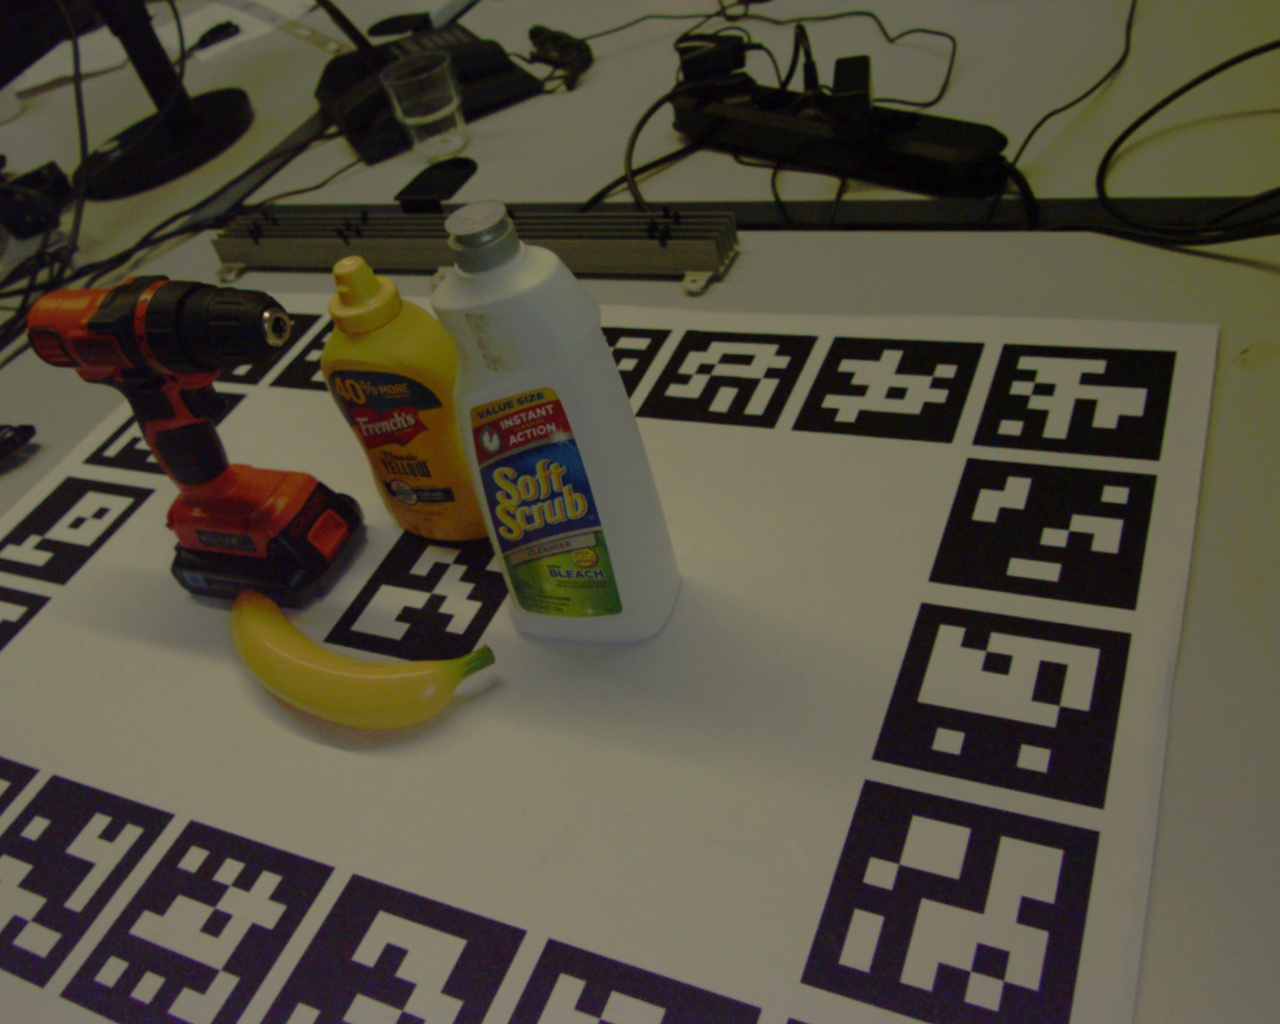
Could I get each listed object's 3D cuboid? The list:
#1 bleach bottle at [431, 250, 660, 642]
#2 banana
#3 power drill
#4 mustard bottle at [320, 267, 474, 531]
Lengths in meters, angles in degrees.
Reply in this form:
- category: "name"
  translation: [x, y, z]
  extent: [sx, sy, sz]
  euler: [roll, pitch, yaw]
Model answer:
- category: "bleach bottle"
  translation: [-0.062, -0.030, 0.622]
  extent: [0.103, 0.248, 0.068]
  euler: [1, 47, 20]
- category: "banana"
  translation: [-0.186, 0.081, 0.692]
  extent: [0.200, 0.038, 0.074]
  euler: [9, 53, 30]
- category: "power drill"
  translation: [-0.270, -0.055, 0.727]
  extent: [0.186, 0.186, 0.057]
  euler: [7, 41, 22]
- category: "mustard bottle"
  translation: [-0.151, -0.072, 0.729]
  extent: [0.097, 0.190, 0.058]
  euler: [9, 48, 25]
